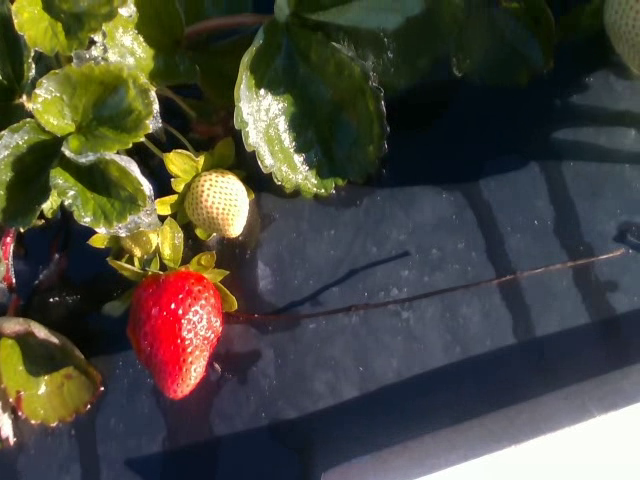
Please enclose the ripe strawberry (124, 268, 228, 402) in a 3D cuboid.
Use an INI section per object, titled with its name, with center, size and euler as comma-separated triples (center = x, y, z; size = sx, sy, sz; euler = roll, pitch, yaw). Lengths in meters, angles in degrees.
[ripe strawberry]
center = -0.040, 0.031, 0.178
size = 0.039, 0.039, 0.040
euler = -25, -44, 16
